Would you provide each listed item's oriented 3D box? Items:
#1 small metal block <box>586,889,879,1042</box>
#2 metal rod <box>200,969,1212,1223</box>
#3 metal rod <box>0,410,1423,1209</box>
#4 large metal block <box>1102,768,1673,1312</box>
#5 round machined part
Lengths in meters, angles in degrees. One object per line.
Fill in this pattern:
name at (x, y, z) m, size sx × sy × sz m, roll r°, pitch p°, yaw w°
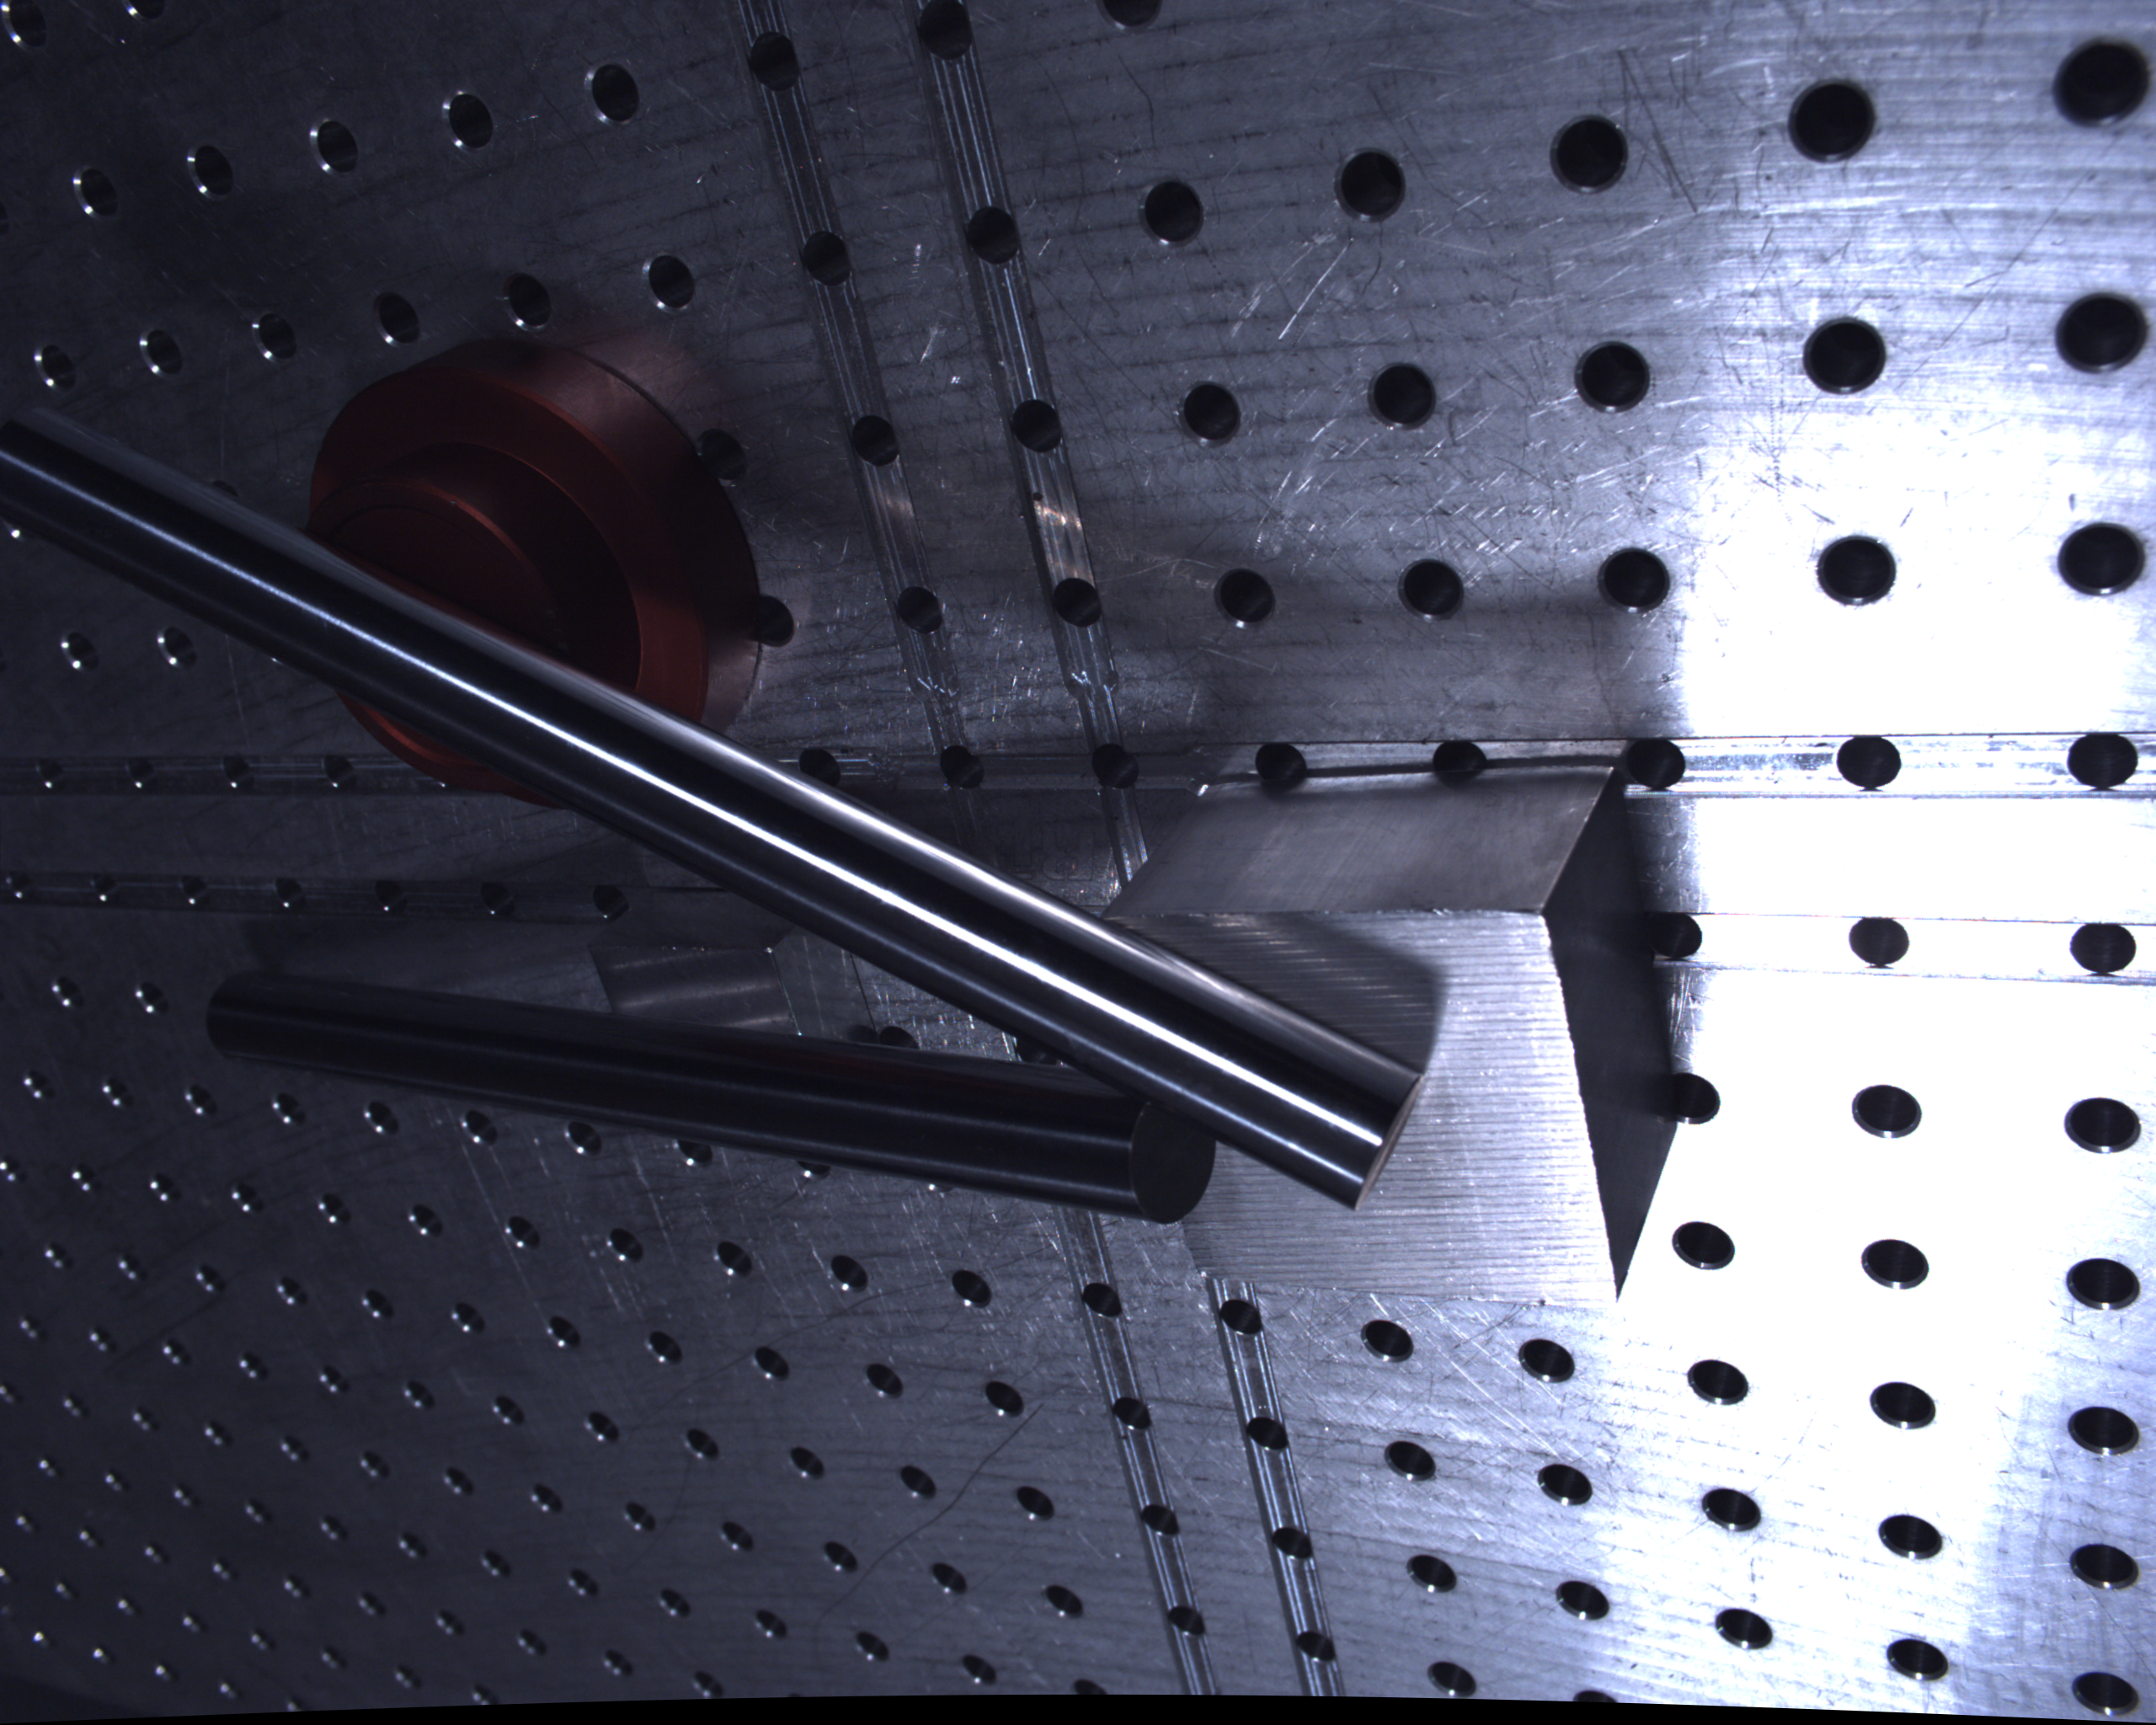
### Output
small metal block at (-0.076, 0.034, 0.471) m, size 0.050 × 0.025 × 0.050 m, roll 0°, pitch 118°, yaw 28°
metal rod at (-0.101, 0.045, 0.455) m, size 0.300 × 0.025 × 0.025 m, roll 2°, pitch 120°, yaw 38°
metal rod at (-0.080, -0.017, 0.379) m, size 0.301 × 0.025 × 0.025 m, roll 25°, pitch 127°, yaw 15°
large metal block at (0.057, 0.031, 0.380) m, size 0.080 × 0.050 × 0.080 m, roll -2°, pitch 118°, yaw 28°
round machined part at (-0.119, -0.053, 0.427) m, size 0.098 × 0.042 × 0.097 m, roll 13°, pitch 124°, yaw 20°
